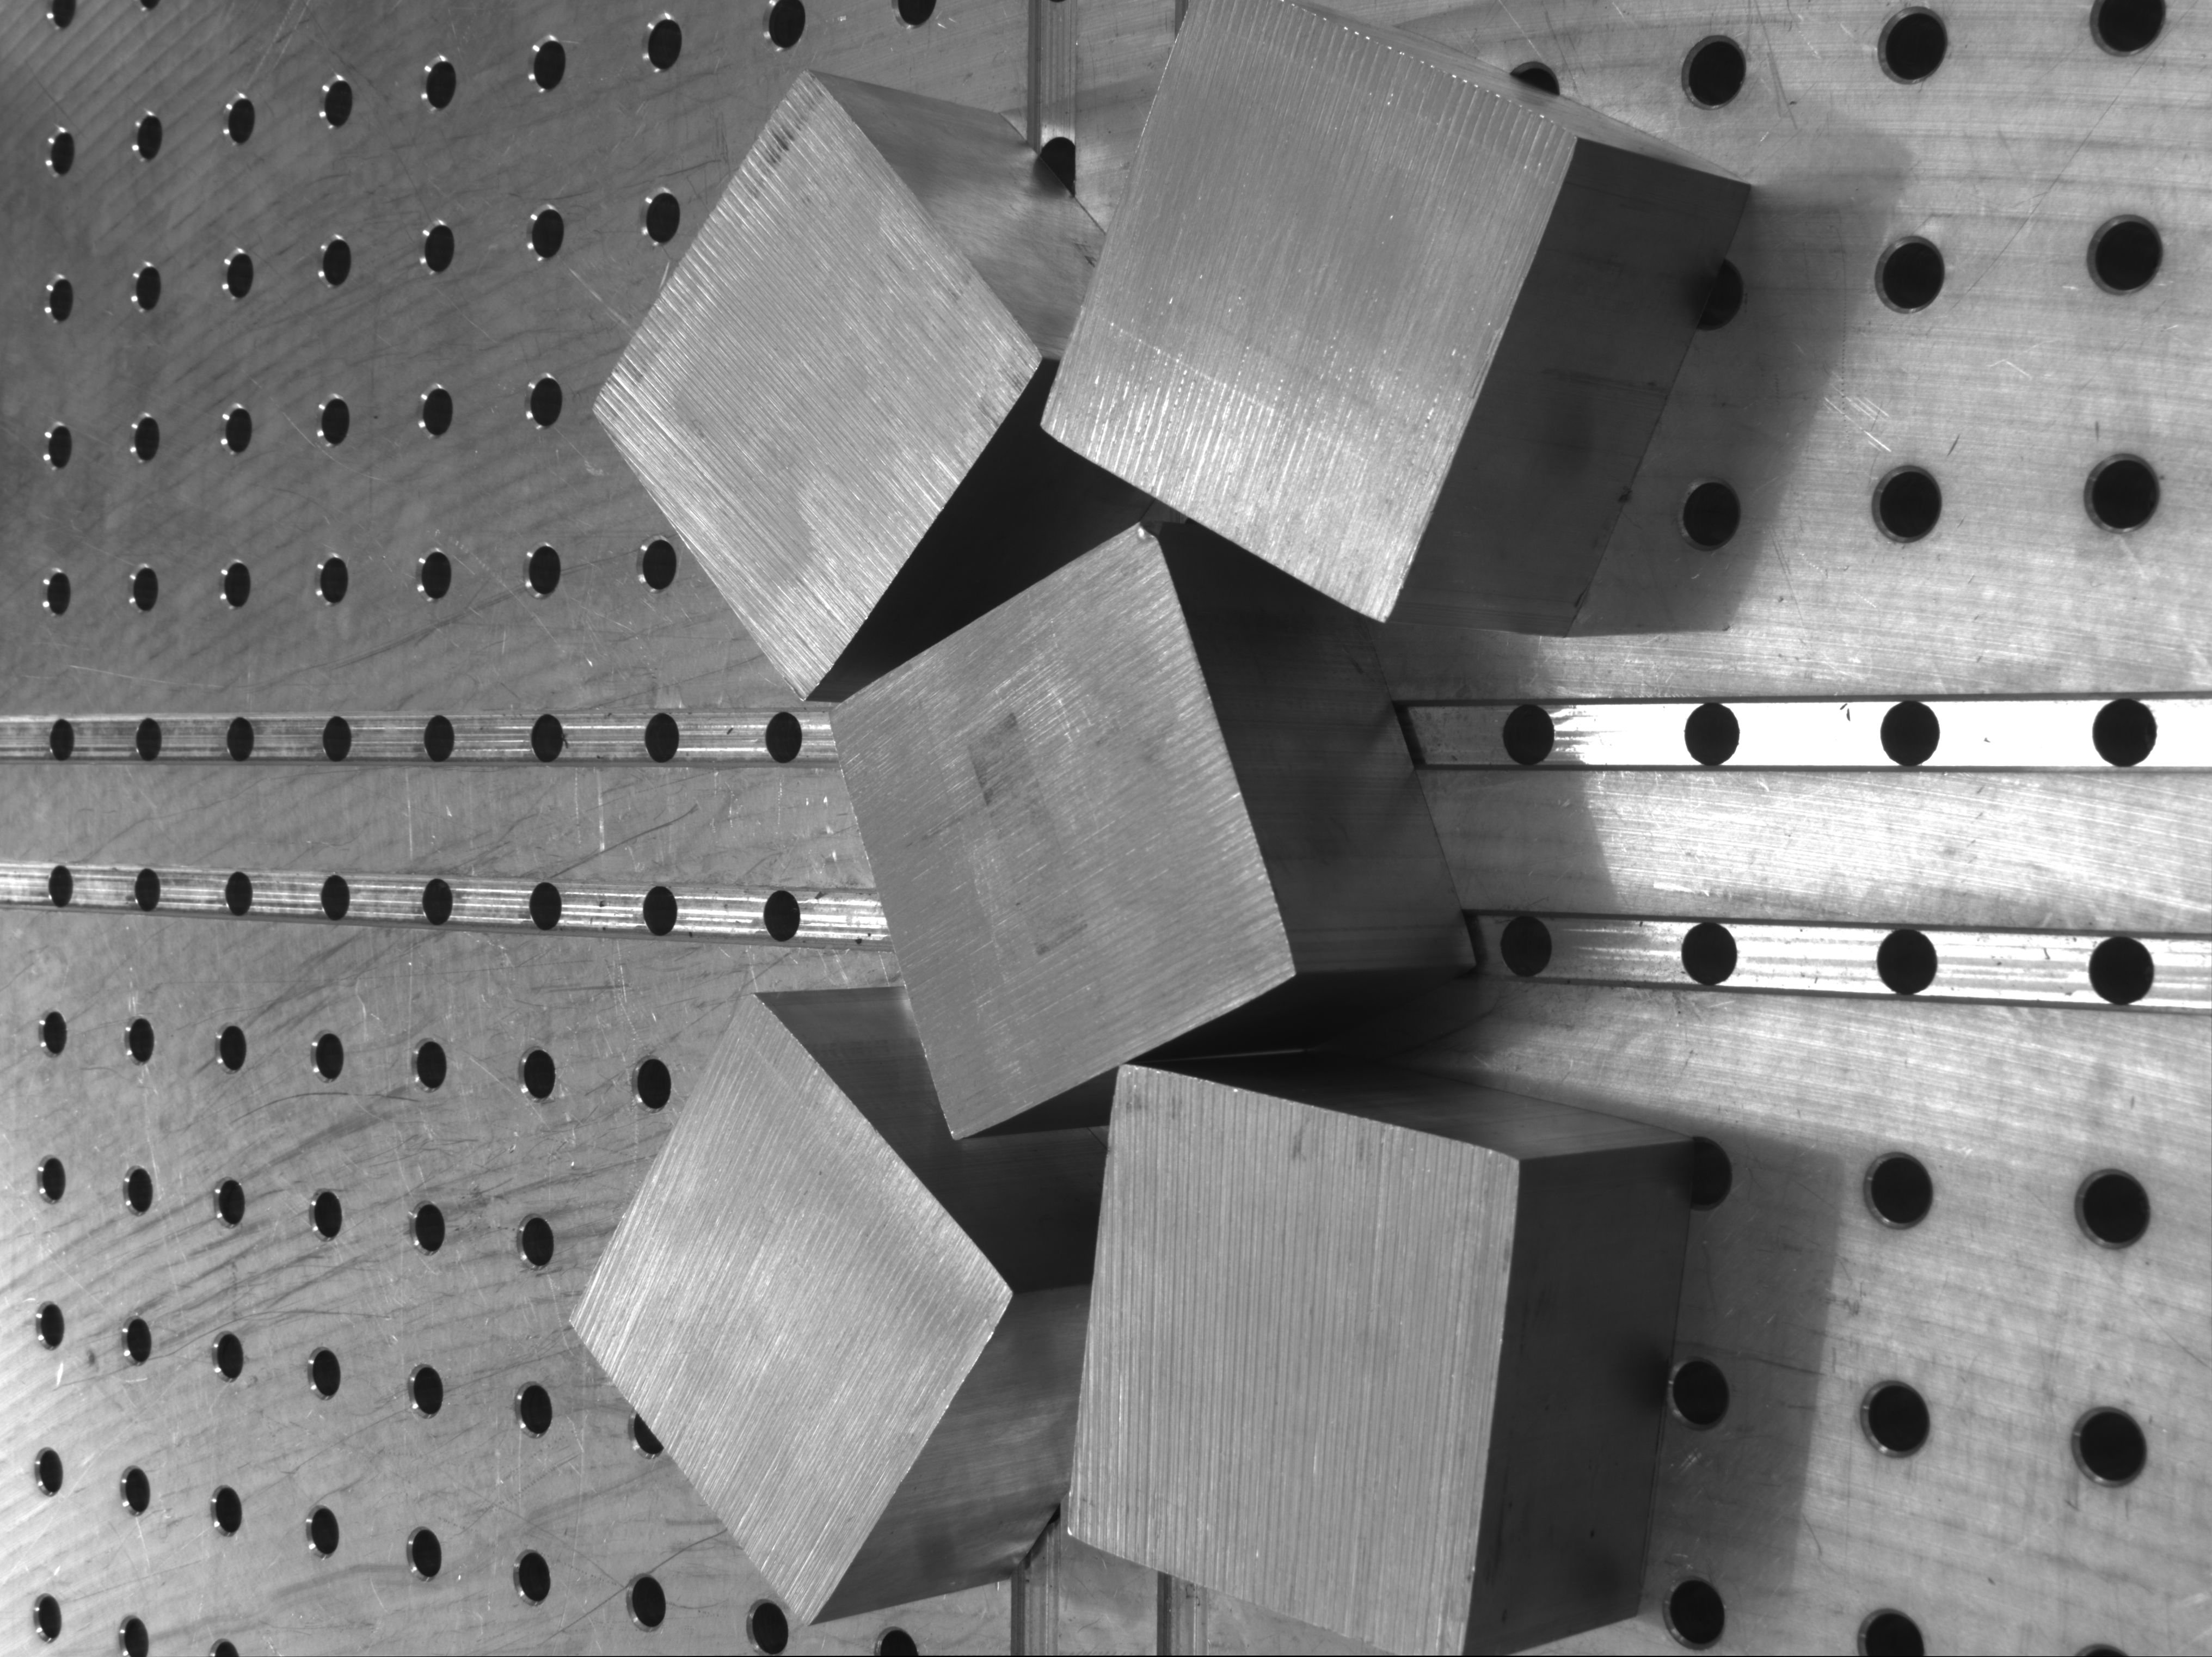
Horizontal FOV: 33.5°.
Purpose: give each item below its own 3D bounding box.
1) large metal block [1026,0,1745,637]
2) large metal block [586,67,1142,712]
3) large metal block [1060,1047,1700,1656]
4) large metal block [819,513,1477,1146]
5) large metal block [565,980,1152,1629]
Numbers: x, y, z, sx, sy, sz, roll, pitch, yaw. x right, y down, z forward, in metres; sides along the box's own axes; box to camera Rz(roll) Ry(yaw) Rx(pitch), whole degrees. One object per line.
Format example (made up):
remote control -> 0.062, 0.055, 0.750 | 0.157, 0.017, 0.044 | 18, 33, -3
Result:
large metal block -> 0.044, -0.084, 0.594 | 0.080, 0.050, 0.080 | 31, 110, 33
large metal block -> -0.038, -0.077, 0.664 | 0.080, 0.050, 0.080 | -52, 59, 28
large metal block -> 0.044, 0.083, 0.595 | 0.080, 0.050, 0.080 | 11, 97, 39
large metal block -> 0.006, 0.001, 0.627 | 0.080, 0.050, 0.080 | -29, 72, 37
large metal block -> -0.042, 0.084, 0.666 | 0.080, 0.050, 0.080 | 45, 117, 31
